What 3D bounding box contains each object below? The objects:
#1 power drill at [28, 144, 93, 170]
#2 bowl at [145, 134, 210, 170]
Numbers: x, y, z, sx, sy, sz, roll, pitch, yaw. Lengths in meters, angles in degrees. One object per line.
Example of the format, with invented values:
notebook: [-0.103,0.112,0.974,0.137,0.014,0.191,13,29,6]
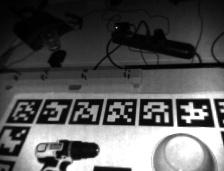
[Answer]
power drill: [-0.152,0.239,0.547,0.184,0.058,0.186,1,48,8]
bowl: [0.162,0.177,0.543,0.161,0.055,0.161,-8,41,8]
